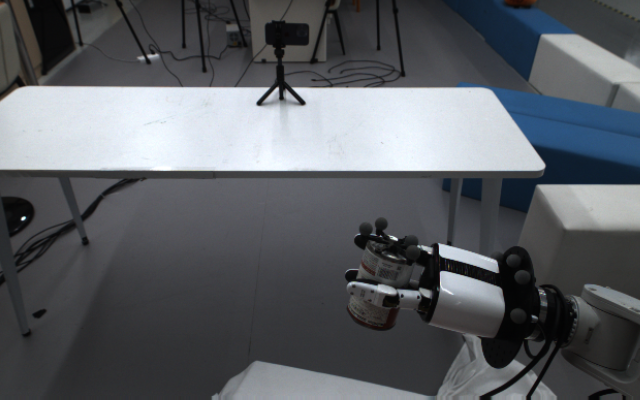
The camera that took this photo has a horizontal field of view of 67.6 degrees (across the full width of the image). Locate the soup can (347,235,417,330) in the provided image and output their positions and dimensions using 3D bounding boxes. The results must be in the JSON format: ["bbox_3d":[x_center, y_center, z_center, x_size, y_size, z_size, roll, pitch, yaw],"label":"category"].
[{"bbox_3d":[0.082,0.108,0.630,0.067,0.101,0.067,13,18,-4],"label":"soup can"}]
